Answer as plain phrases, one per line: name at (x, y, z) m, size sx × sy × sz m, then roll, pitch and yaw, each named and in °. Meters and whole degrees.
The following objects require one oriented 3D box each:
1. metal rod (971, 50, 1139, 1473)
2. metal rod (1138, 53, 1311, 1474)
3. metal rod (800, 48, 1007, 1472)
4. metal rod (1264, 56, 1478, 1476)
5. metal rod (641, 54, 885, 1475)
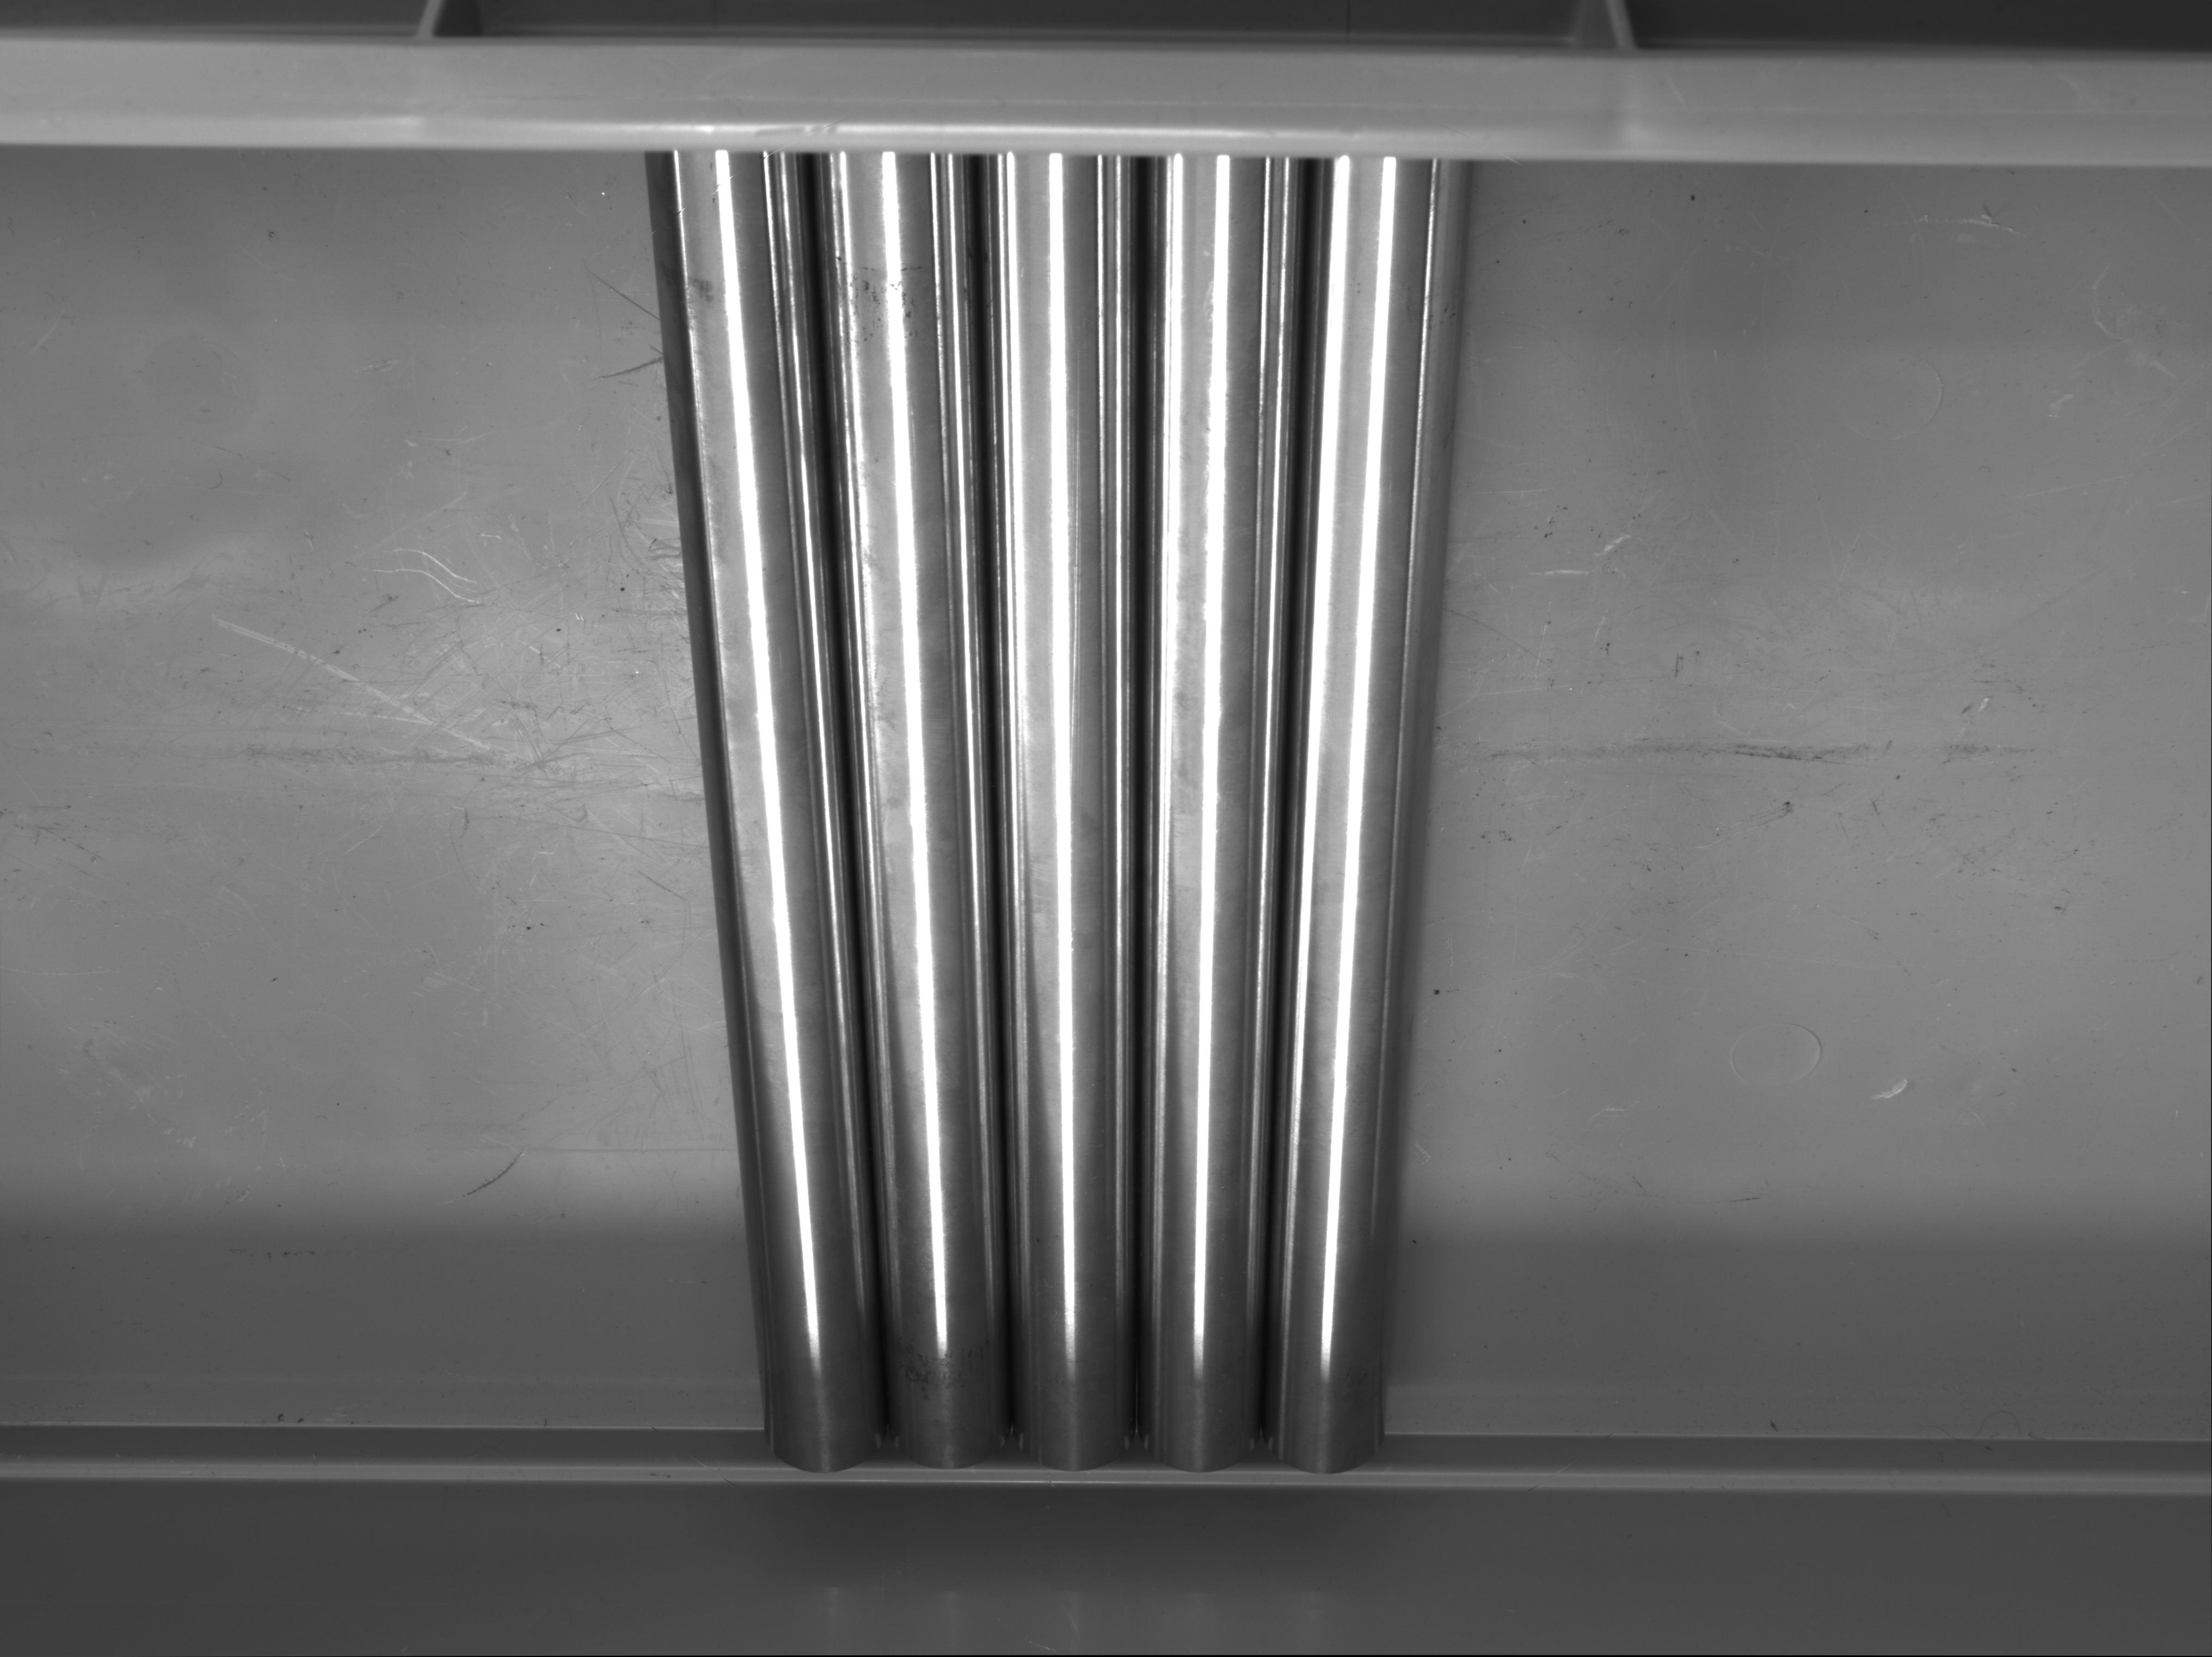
metal rod at (-0.007, 0.005, 0.642) m, size 0.025 × 0.025 × 0.300 m, roll 0°, pitch 130°, yaw 0°
metal rod at (0.018, 0.005, 0.643) m, size 0.025 × 0.025 × 0.300 m, roll 0°, pitch 130°, yaw 0°
metal rod at (-0.033, 0.005, 0.642) m, size 0.025 × 0.025 × 0.300 m, roll 0°, pitch 130°, yaw 0°
metal rod at (0.043, 0.006, 0.643) m, size 0.025 × 0.025 × 0.300 m, roll 0°, pitch 130°, yaw 0°
metal rod at (-0.056, 0.006, 0.643) m, size 0.025 × 0.025 × 0.300 m, roll 0°, pitch 130°, yaw 0°
